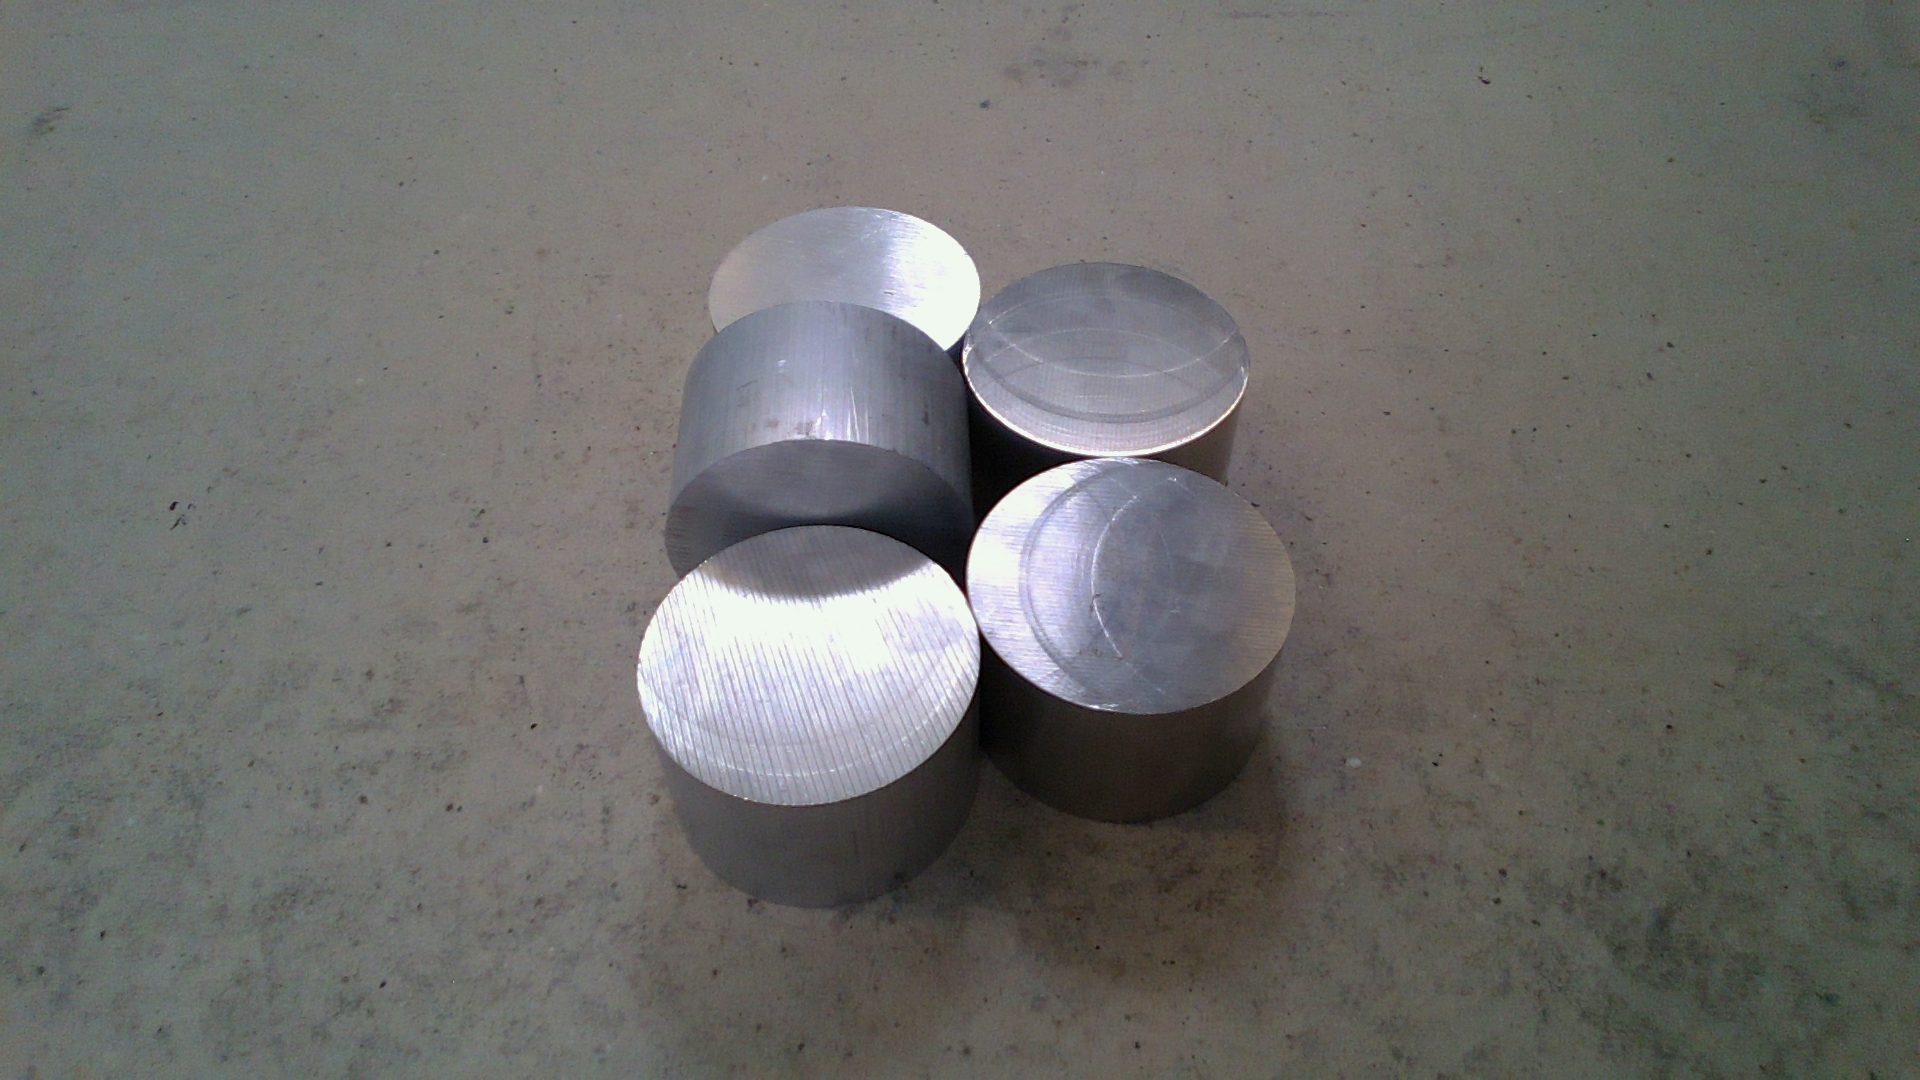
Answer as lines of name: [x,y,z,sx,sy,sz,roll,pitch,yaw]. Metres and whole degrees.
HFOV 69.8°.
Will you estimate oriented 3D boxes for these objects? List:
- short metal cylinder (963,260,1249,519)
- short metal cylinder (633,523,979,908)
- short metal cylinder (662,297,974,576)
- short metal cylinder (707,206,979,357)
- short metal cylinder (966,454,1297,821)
short metal cylinder: [0.041,-0.037,0.406,0.080,0.050,0.080,0,50,0]
short metal cylinder: [-0.035,0.042,0.339,0.080,0.050,0.080,0,50,1]
short metal cylinder: [-0.037,-0.018,0.371,0.080,0.080,0.050,-2,50,-2]
short metal cylinder: [-0.034,-0.058,0.424,0.080,0.050,0.080,0,50,1]
short metal cylinder: [0.042,0.024,0.354,0.080,0.050,0.080,0,50,1]
